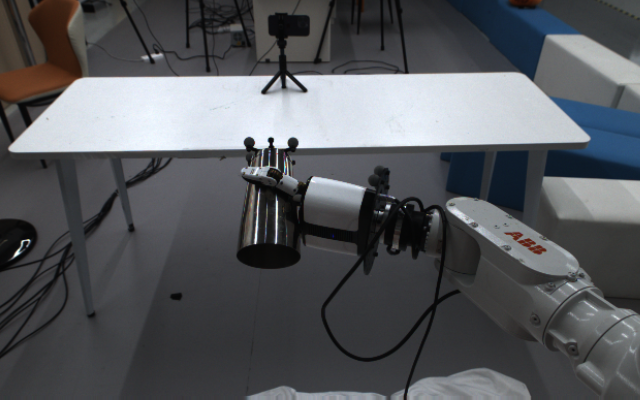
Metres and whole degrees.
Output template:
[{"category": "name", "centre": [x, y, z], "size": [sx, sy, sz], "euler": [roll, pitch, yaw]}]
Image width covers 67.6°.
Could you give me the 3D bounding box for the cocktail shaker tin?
[{"category": "cocktail shaker tin", "centre": [-0.077, 0.007, 0.729], "size": [0.093, 0.093, 0.170], "euler": [0, 59, -3]}]
